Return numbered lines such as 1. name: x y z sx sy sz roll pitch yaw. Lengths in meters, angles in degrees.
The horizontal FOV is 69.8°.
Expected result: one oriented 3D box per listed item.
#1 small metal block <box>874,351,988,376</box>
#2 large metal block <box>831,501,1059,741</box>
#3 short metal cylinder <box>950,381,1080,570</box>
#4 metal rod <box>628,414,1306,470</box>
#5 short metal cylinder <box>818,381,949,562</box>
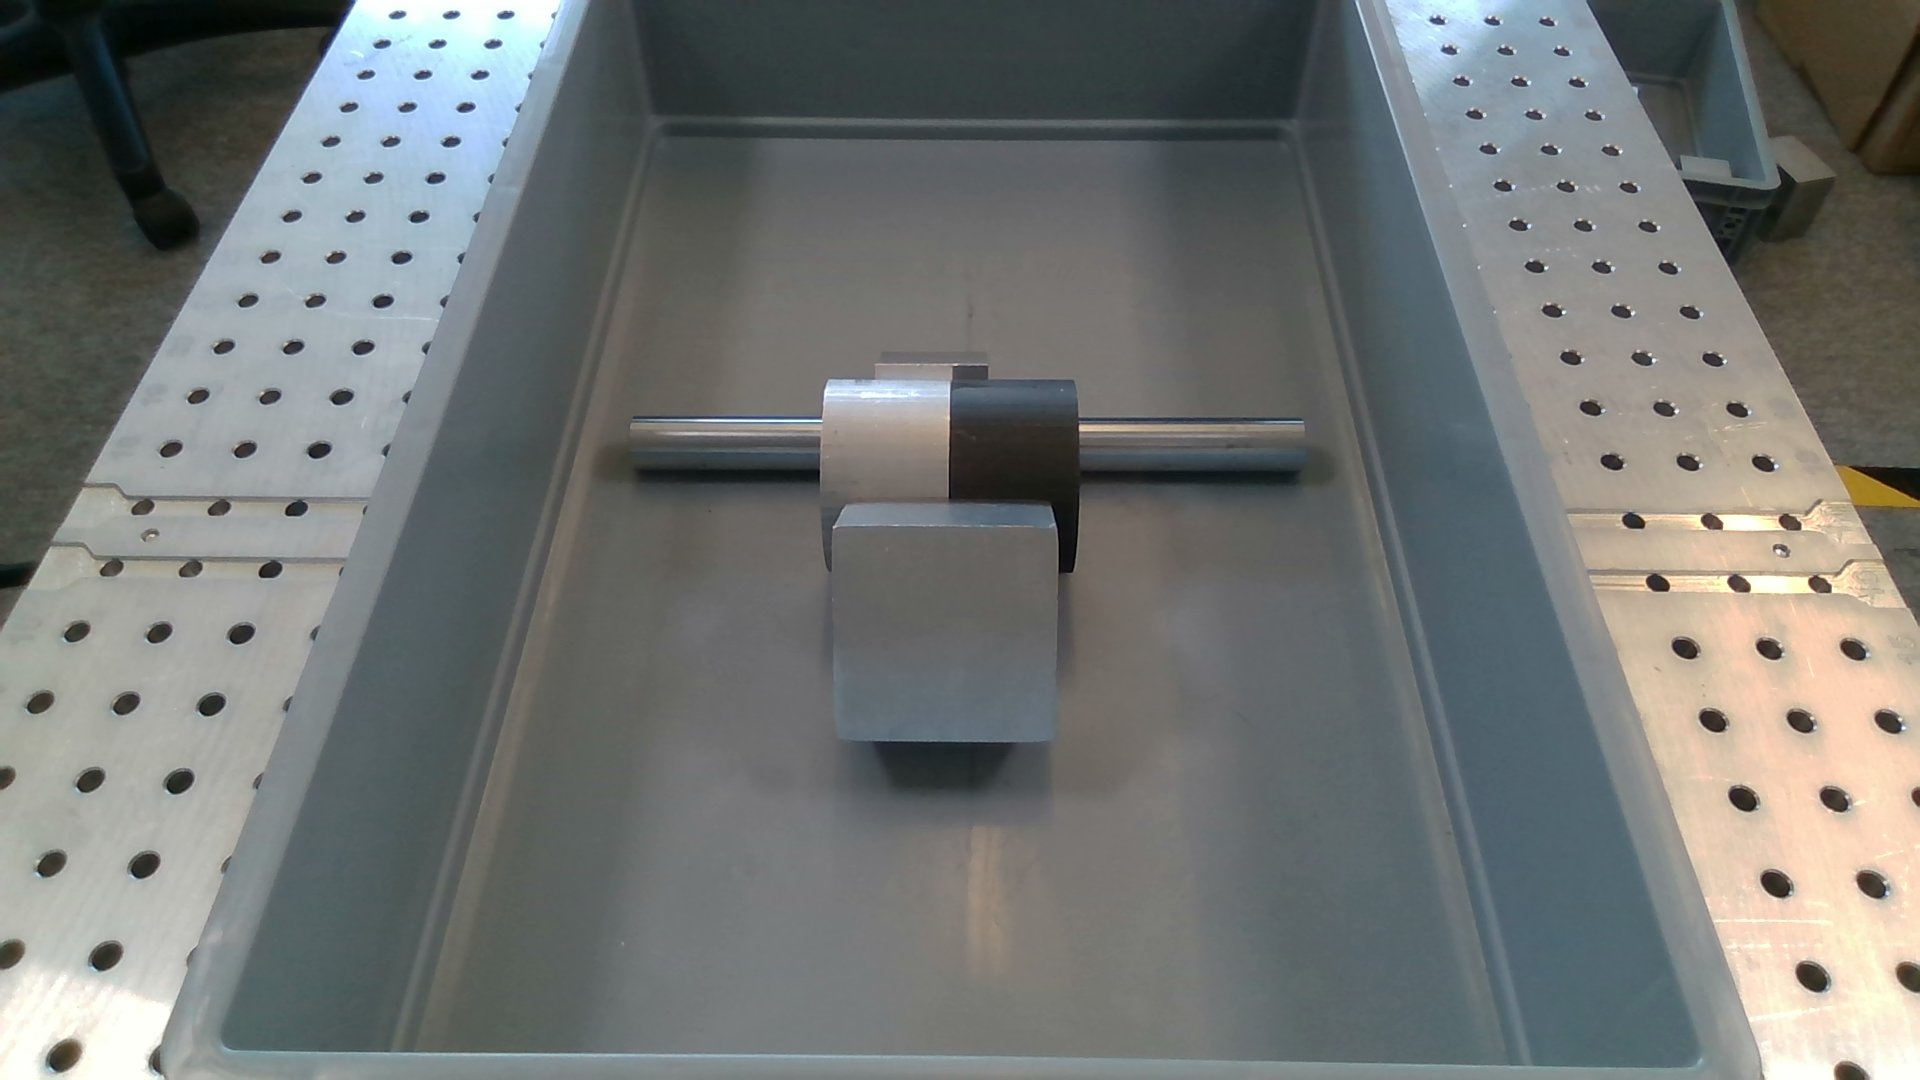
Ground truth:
1. small metal block: -0.013 -0.071 0.630 0.050 0.025 0.050 1 15 0
2. large metal block: -0.005 0.029 0.516 0.080 0.080 0.050 0 12 1
3. short metal cylinder: 0.021 -0.027 0.572 0.050 0.080 0.080 0 50 0
4. metal rod: 0.003 -0.044 0.621 0.300 0.025 0.025 0 50 0
5. short metal cylinder: -0.030 -0.027 0.572 0.050 0.080 0.080 0 50 0
